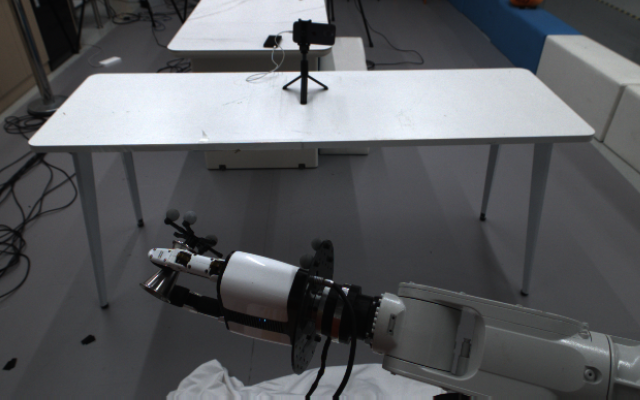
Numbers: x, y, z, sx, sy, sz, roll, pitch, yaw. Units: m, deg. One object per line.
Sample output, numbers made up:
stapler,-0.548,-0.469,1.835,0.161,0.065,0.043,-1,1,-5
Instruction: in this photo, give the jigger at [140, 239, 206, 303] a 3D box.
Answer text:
jigger,-0.189,0.087,0.609,0.043,0.043,0.071,19,62,23
